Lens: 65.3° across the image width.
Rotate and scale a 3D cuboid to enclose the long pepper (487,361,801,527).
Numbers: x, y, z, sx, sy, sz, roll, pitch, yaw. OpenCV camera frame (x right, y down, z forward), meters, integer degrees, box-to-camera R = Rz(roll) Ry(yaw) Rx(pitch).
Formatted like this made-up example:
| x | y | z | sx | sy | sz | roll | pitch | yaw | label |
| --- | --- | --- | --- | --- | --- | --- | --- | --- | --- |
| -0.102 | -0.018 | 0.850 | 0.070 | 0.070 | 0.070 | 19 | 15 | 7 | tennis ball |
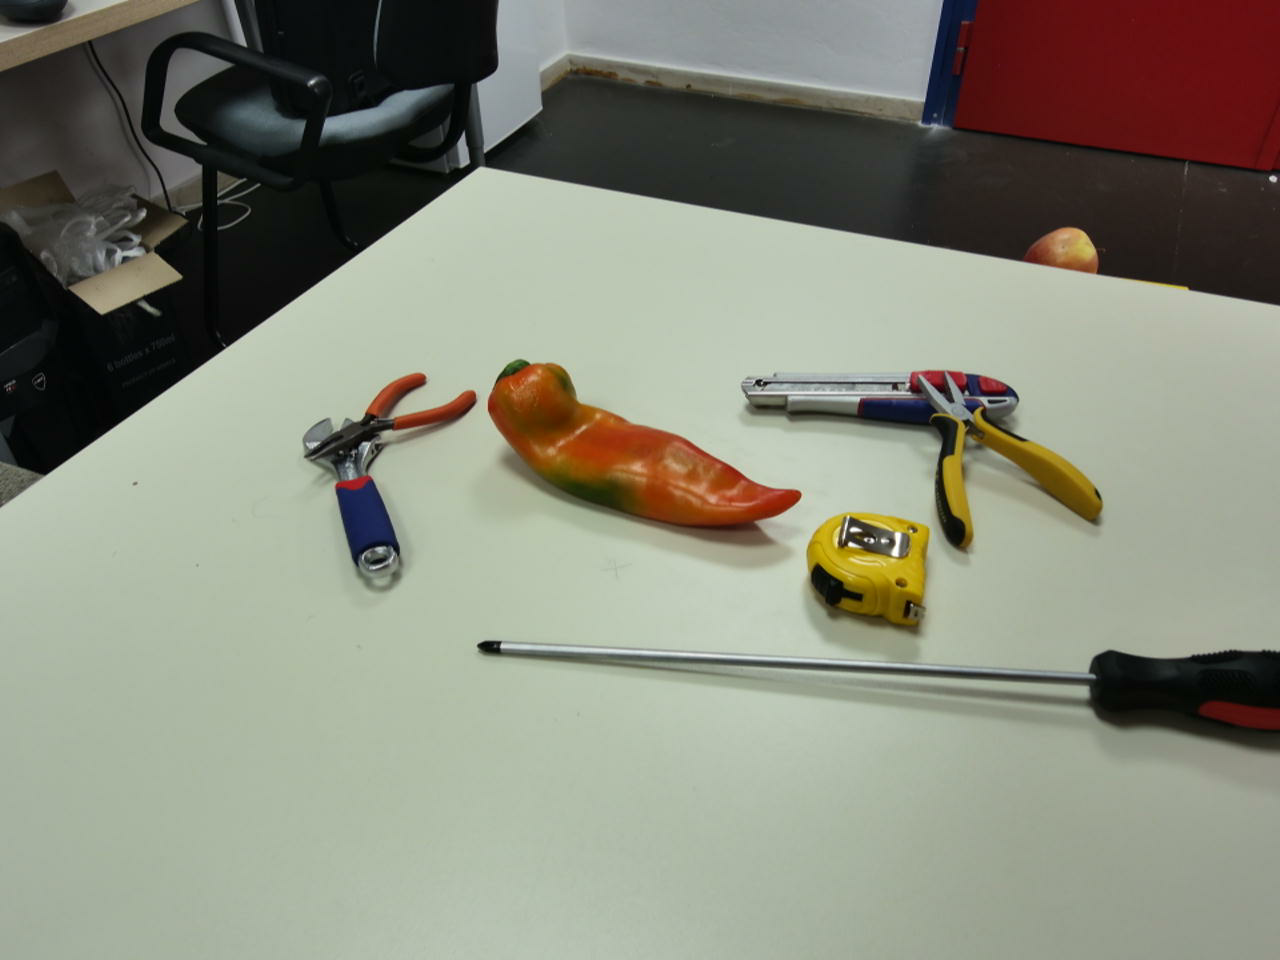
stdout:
| x | y | z | sx | sy | sz | roll | pitch | yaw | label |
| --- | --- | --- | --- | --- | --- | --- | --- | --- | --- |
| -0.002 | -0.020 | 0.587 | 0.199 | 0.065 | 0.066 | 19 | 43 | 23 | long pepper |
